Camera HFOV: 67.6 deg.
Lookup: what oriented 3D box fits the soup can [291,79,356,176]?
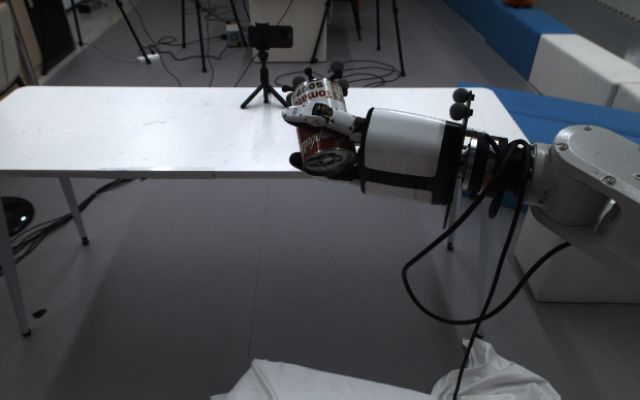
[{"bbox_3d":[0.005,-0.089,0.596,0.067,0.067,0.101,-6,67,-12],"label":"soup can"}]
